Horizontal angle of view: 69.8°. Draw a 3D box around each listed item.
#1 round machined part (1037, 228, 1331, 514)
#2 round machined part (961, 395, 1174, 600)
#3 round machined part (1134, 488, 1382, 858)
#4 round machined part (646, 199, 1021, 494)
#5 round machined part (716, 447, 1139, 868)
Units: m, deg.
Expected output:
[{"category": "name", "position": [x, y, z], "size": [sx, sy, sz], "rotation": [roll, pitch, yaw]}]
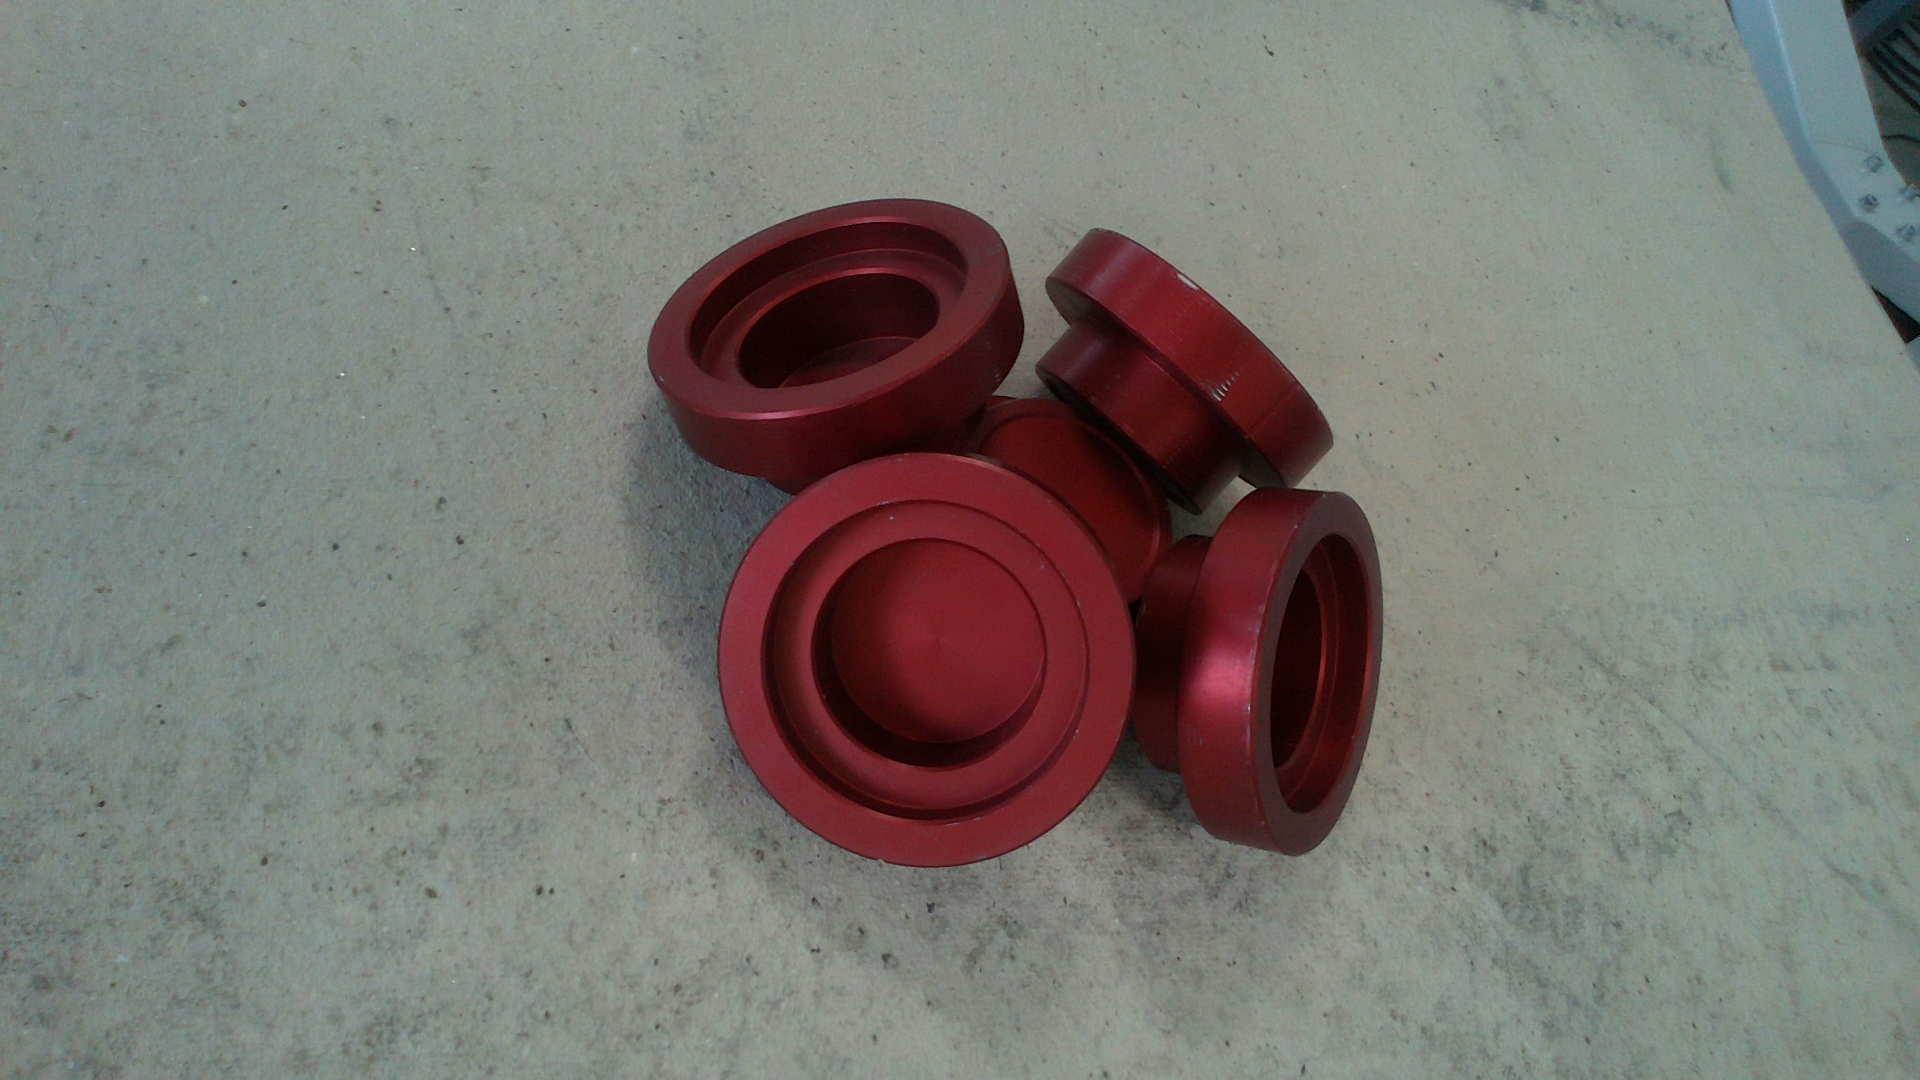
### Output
[{"category": "round machined part", "position": [0.061, -0.045, 0.417], "size": [0.098, 0.098, 0.042], "rotation": [42, 92, 1]}, {"category": "round machined part", "position": [0.021, -0.002, 0.391], "size": [0.098, 0.042, 0.098], "rotation": [15, 53, -21]}, {"category": "round machined part", "position": [0.081, 0.034, 0.380], "size": [0.098, 0.042, 0.098], "rotation": [-13, 106, -55]}, {"category": "round machined part", "position": [-0.031, -0.048, 0.371], "size": [0.098, 0.042, 0.098], "rotation": [-10, 41, 9]}, {"category": "round machined part", "position": [-0.007, 0.026, 0.337], "size": [0.098, 0.098, 0.042], "rotation": [40, 7, -1]}]
